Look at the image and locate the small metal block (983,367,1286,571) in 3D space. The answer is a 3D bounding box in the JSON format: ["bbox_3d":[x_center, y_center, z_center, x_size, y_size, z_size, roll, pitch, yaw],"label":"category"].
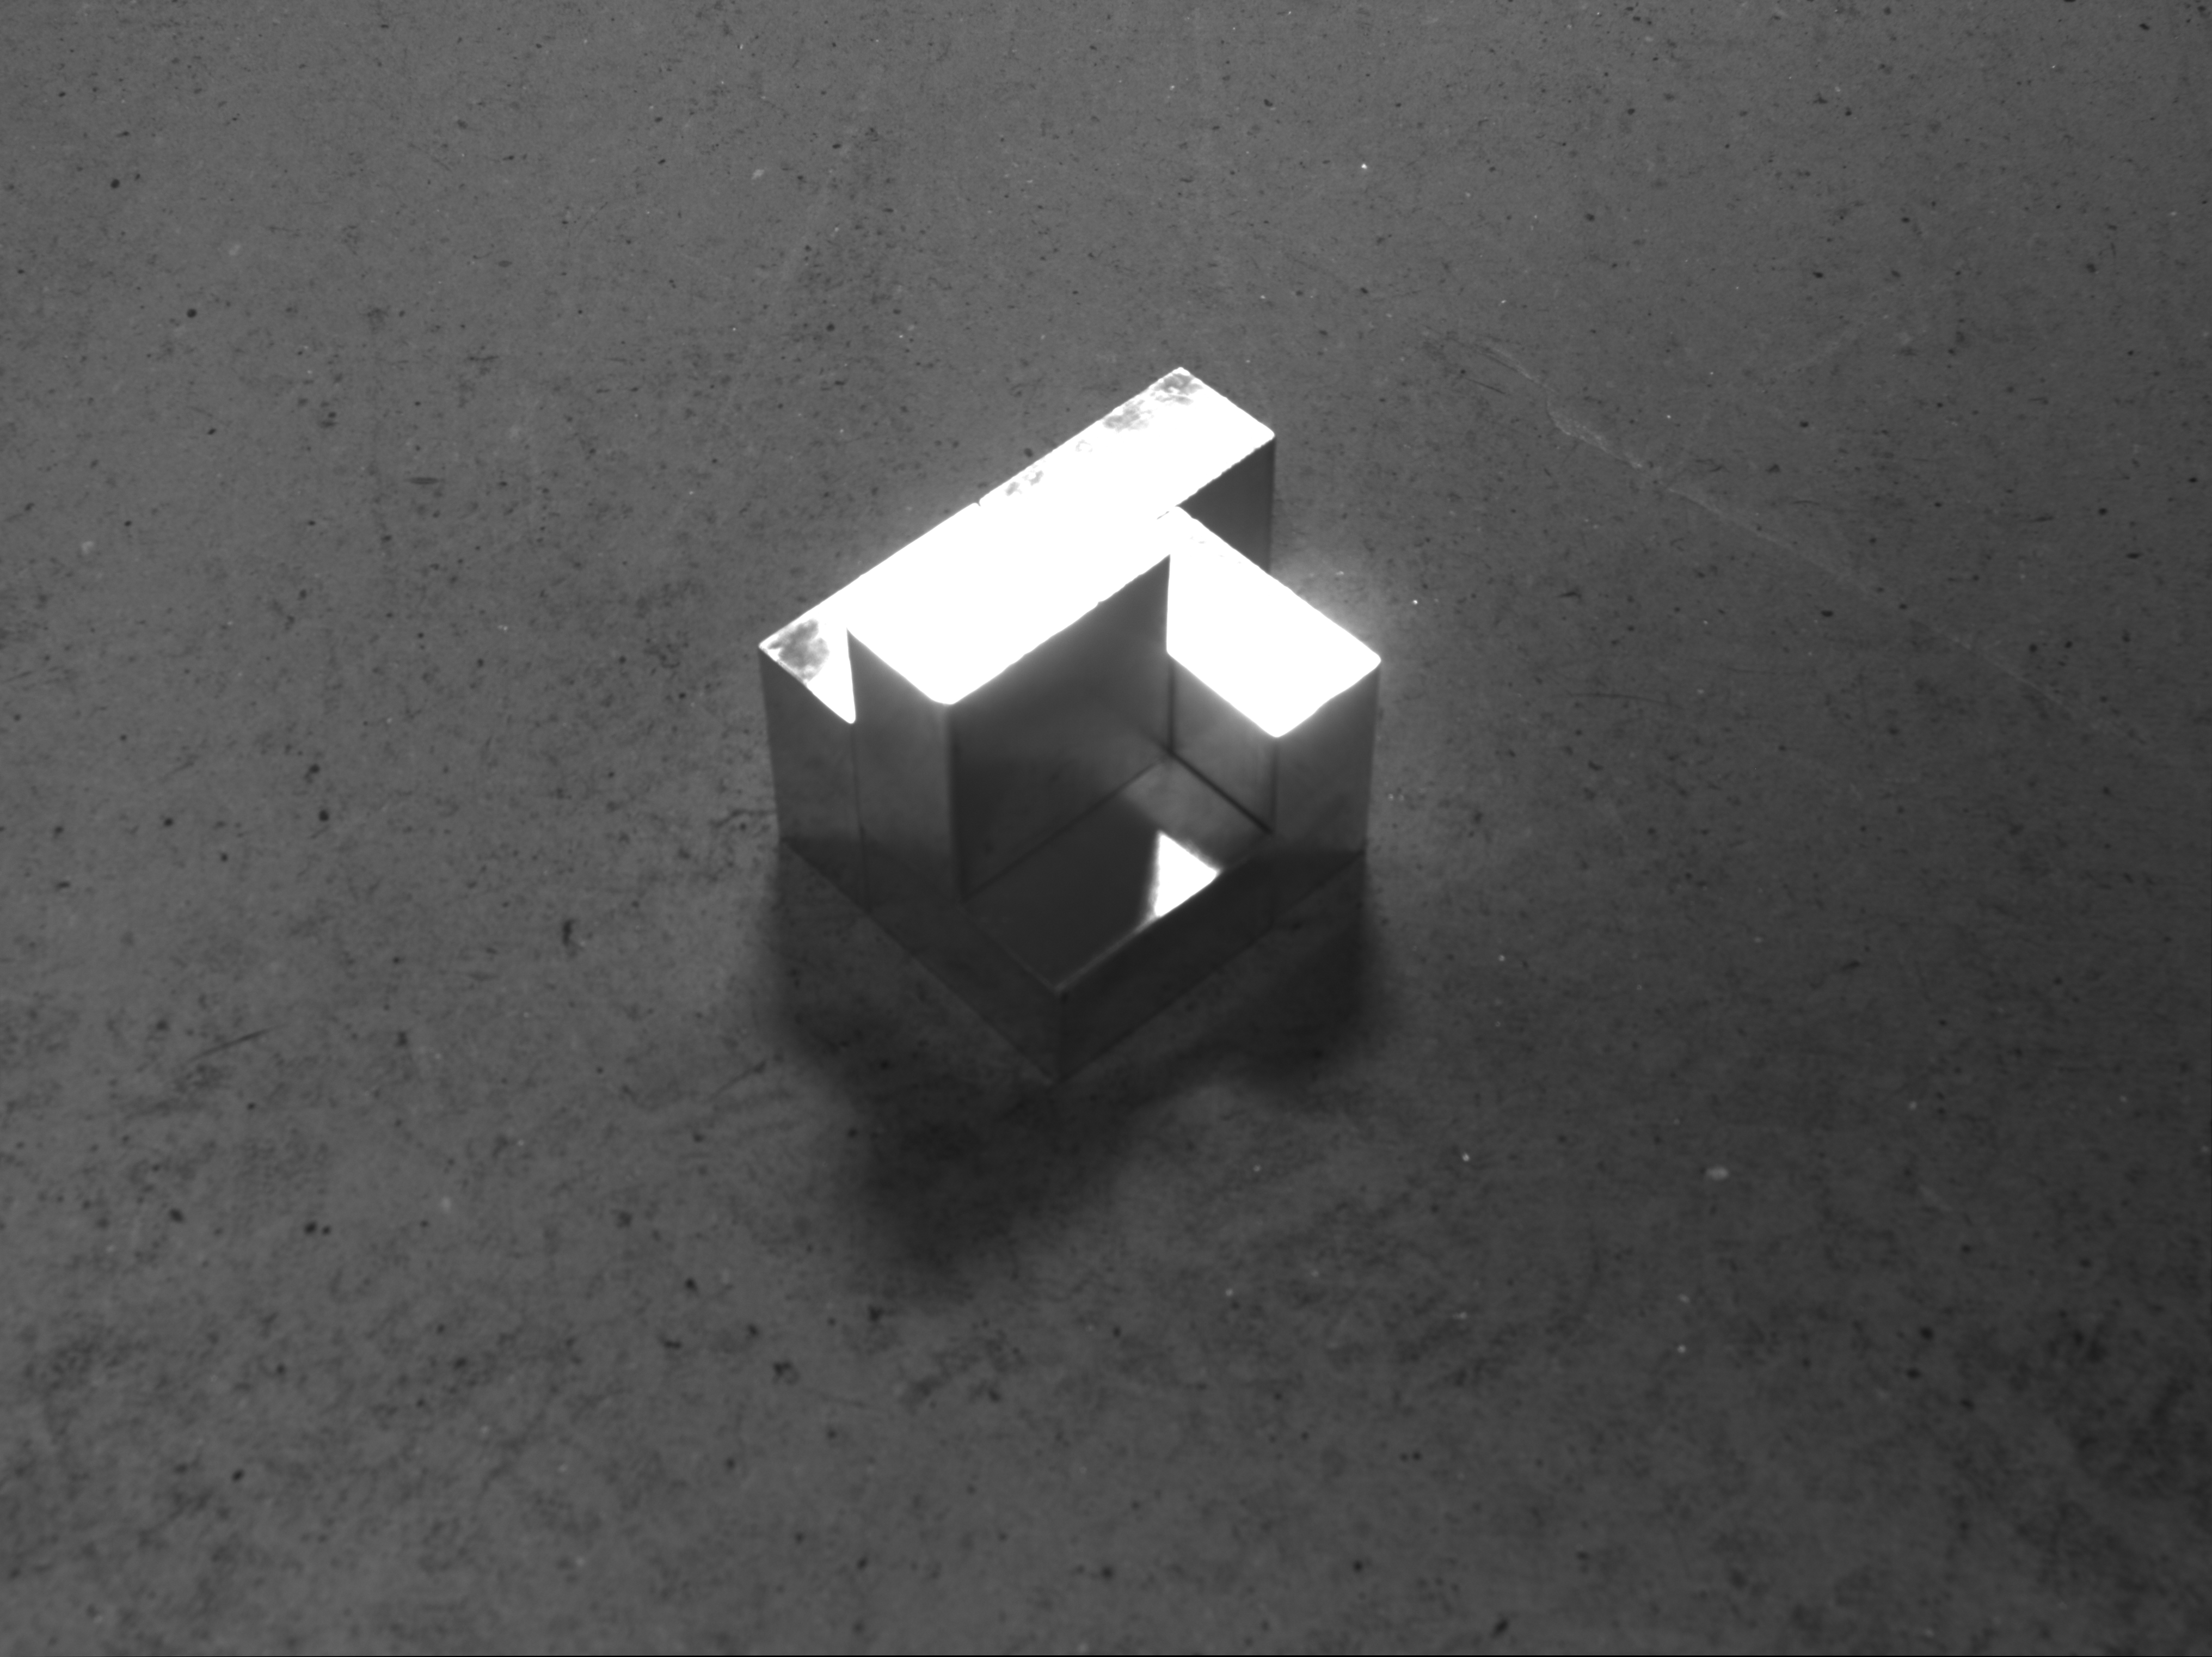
[{"bbox_3d":[0.005,-0.047,0.666,0.050,0.050,0.025,-36,58,-26],"label":"small metal block"}]

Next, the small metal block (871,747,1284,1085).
[{"bbox_3d":[-0.005,0.009,0.635,0.050,0.025,0.050,-35,58,-26],"label":"small metal block"}]

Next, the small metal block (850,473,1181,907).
[{"bbox_3d":[-0.014,-0.023,0.612,0.050,0.050,0.025,-36,58,-26],"label":"small metal block"}]

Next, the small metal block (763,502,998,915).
[{"bbox_3d":[-0.031,-0.021,0.643,0.050,0.050,0.025,-36,58,-26],"label":"small metal block"}]

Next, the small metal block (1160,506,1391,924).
[{"bbox_3d":[0.022,-0.020,0.642,0.025,0.050,0.050,-35,58,-26],"label":"small metal block"}]
